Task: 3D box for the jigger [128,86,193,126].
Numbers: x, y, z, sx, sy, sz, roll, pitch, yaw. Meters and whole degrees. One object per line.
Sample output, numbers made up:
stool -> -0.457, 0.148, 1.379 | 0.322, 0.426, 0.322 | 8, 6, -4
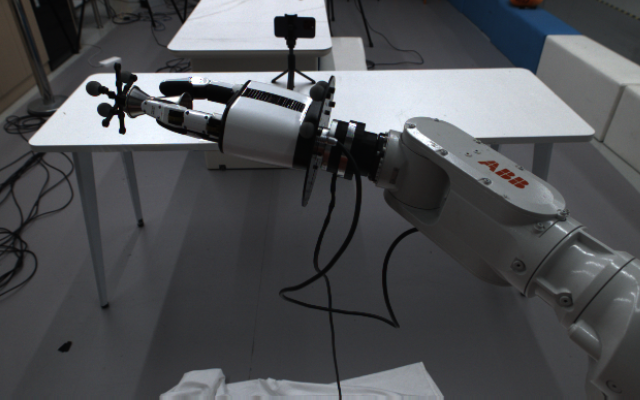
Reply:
jigger -> -0.192, -0.120, 0.597 | 0.071, 0.043, 0.043 | 9, 35, 5
